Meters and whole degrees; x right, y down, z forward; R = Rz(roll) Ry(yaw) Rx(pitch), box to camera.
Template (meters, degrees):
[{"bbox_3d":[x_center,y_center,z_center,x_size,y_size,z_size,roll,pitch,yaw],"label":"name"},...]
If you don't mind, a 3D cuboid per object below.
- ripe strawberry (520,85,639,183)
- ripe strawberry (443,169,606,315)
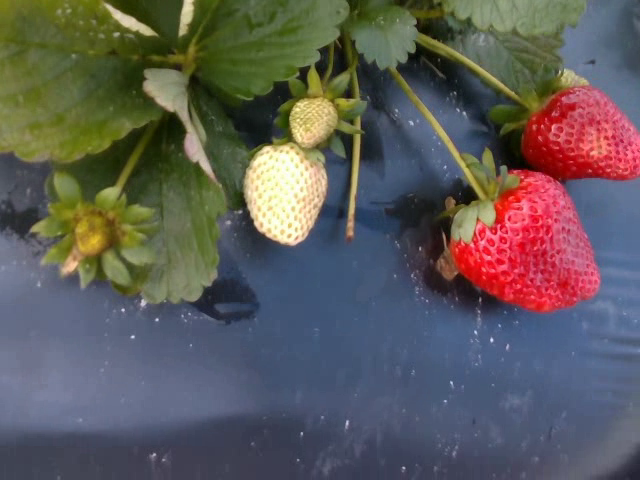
[{"bbox_3d":[0.124,-0.045,0.277,0.059,0.051,0.051,41,6,28],"label":"ripe strawberry"},{"bbox_3d":[0.089,0.005,0.250,0.065,0.058,0.043,43,3,-3],"label":"ripe strawberry"}]
